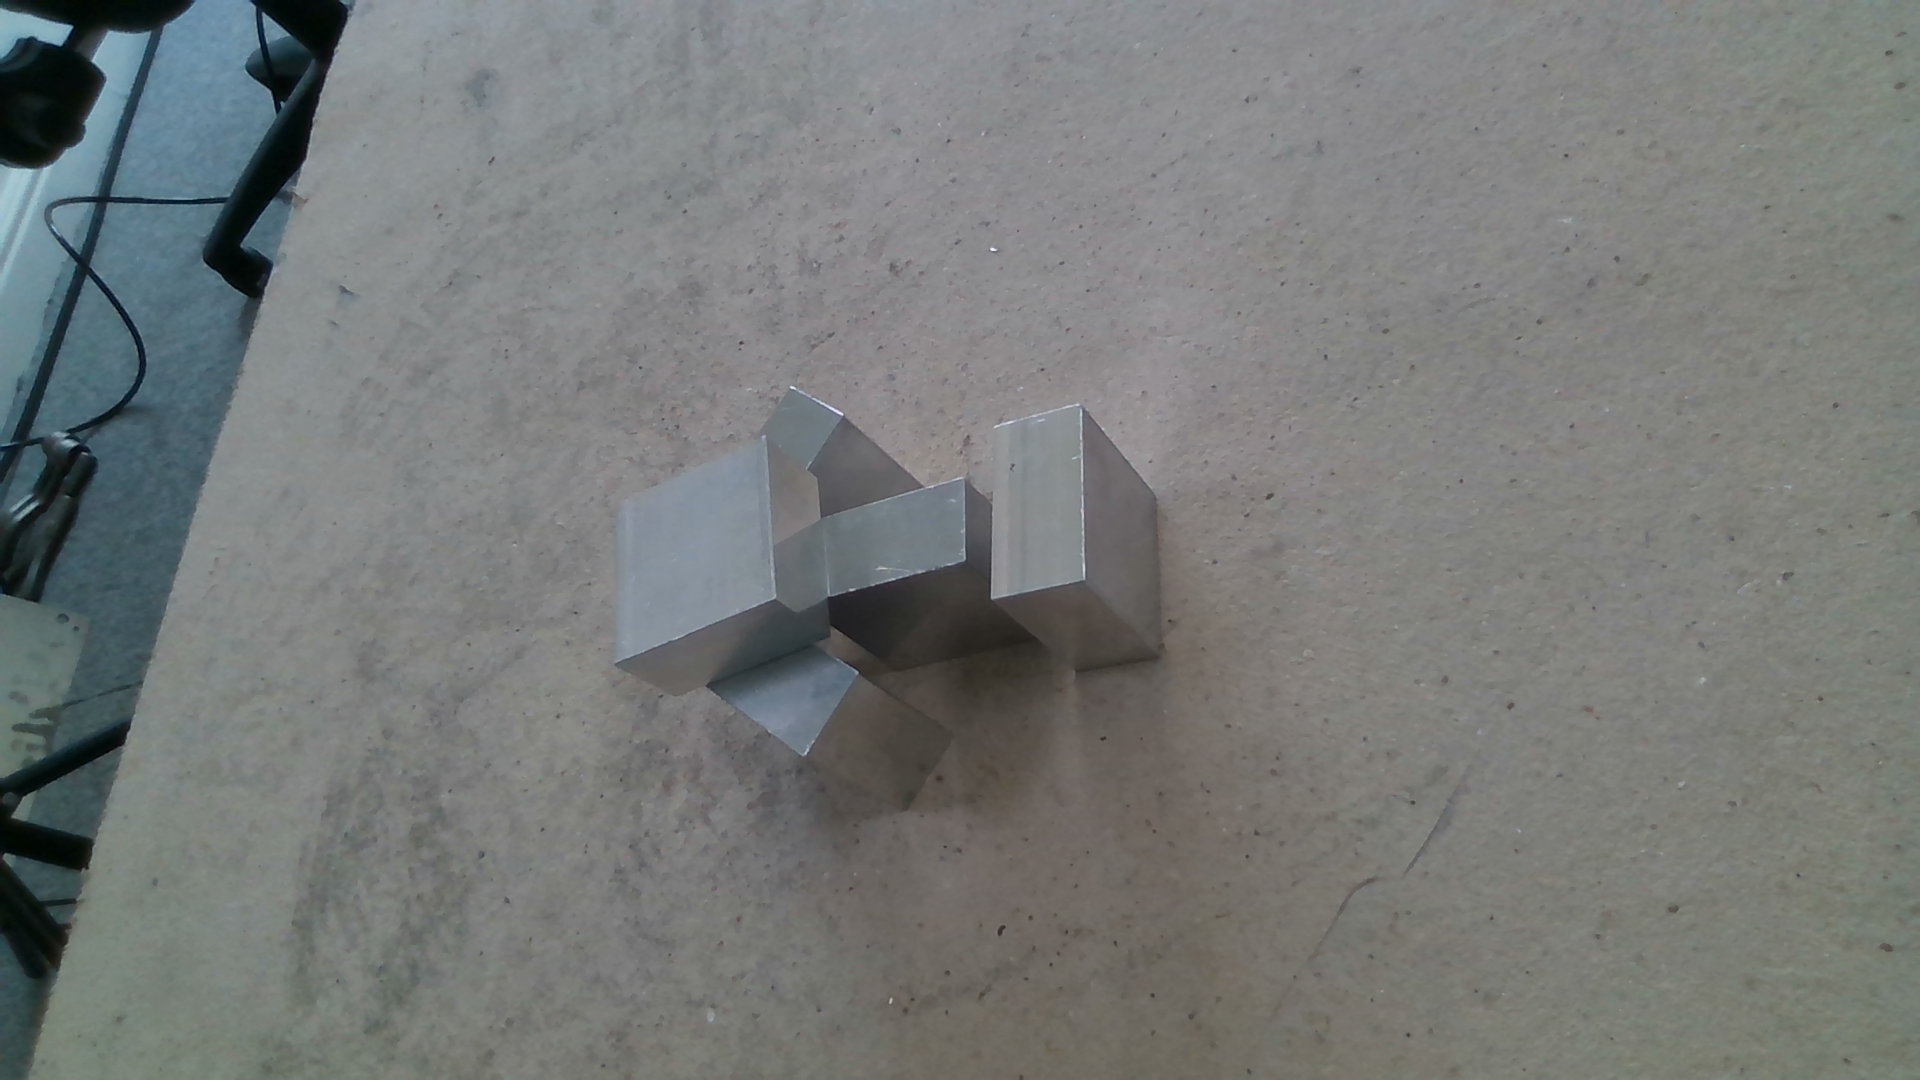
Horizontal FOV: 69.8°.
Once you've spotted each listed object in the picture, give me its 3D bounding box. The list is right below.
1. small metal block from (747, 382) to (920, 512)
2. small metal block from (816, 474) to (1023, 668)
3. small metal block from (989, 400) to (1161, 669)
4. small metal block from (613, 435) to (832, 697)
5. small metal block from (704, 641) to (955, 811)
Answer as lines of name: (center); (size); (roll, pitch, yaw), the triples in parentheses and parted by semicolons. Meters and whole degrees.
small metal block: (-0.044, -0.010, 0.408); (0.025, 0.050, 0.050); (30, 85, 38)
small metal block: (-0.009, 0.010, 0.378); (0.050, 0.050, 0.025); (-15, 59, 24)
small metal block: (0.030, 0.000, 0.358); (0.025, 0.050, 0.050); (-13, 60, 26)
small metal block: (-0.064, 0.007, 0.365); (0.050, 0.025, 0.050); (-21, 56, 20)
small metal block: (-0.038, 0.045, 0.377); (0.050, 0.050, 0.025); (26, 81, 39)
